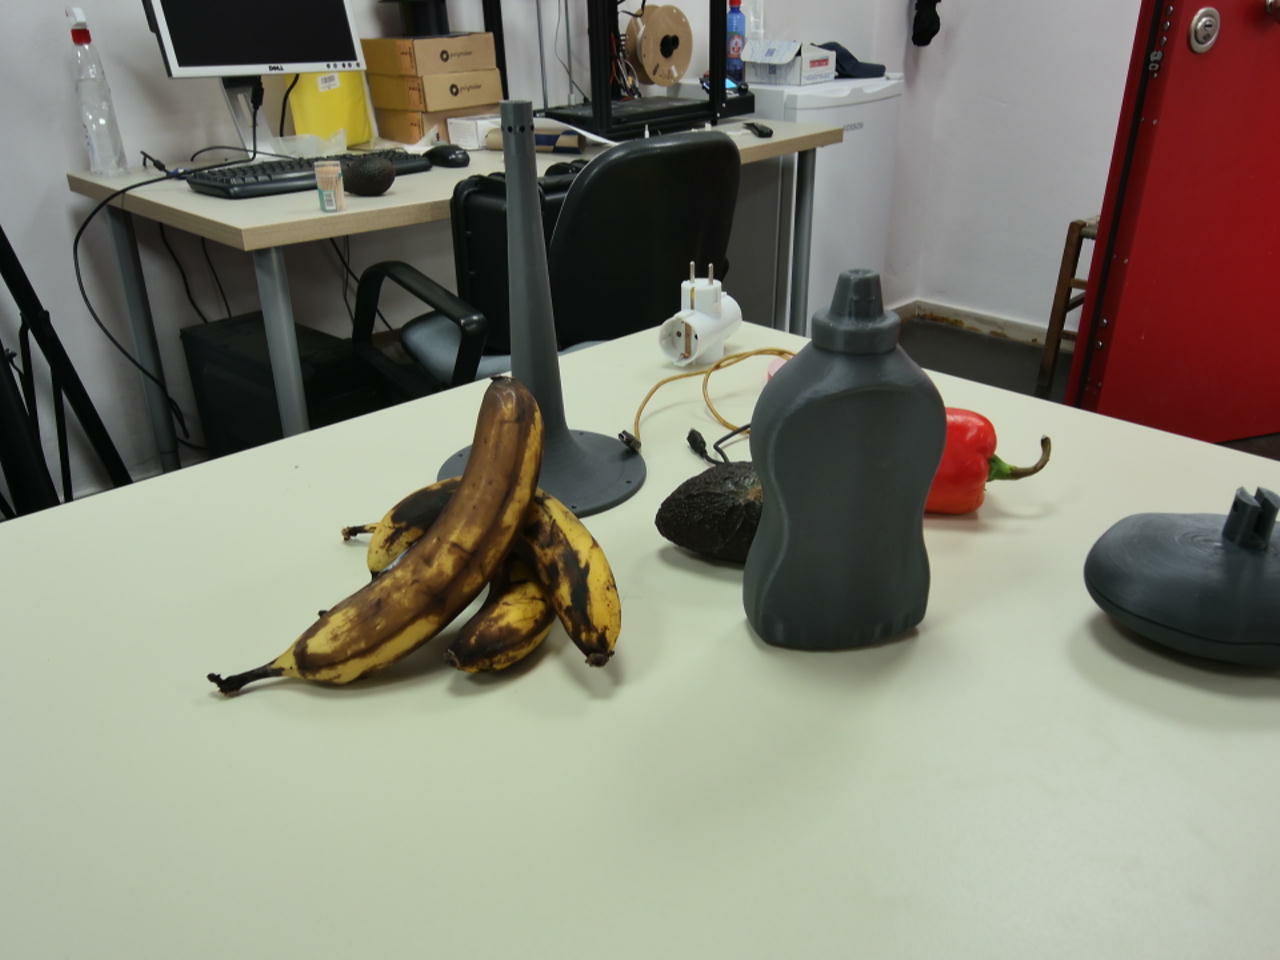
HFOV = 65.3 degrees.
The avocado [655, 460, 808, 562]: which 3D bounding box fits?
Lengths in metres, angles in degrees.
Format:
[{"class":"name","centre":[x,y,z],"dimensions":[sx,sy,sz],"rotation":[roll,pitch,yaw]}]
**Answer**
[{"class":"avocado","centre":[0.057,0.018,0.611],"dimensions":[0.092,0.062,0.062],"rotation":[11,26,21]}]
